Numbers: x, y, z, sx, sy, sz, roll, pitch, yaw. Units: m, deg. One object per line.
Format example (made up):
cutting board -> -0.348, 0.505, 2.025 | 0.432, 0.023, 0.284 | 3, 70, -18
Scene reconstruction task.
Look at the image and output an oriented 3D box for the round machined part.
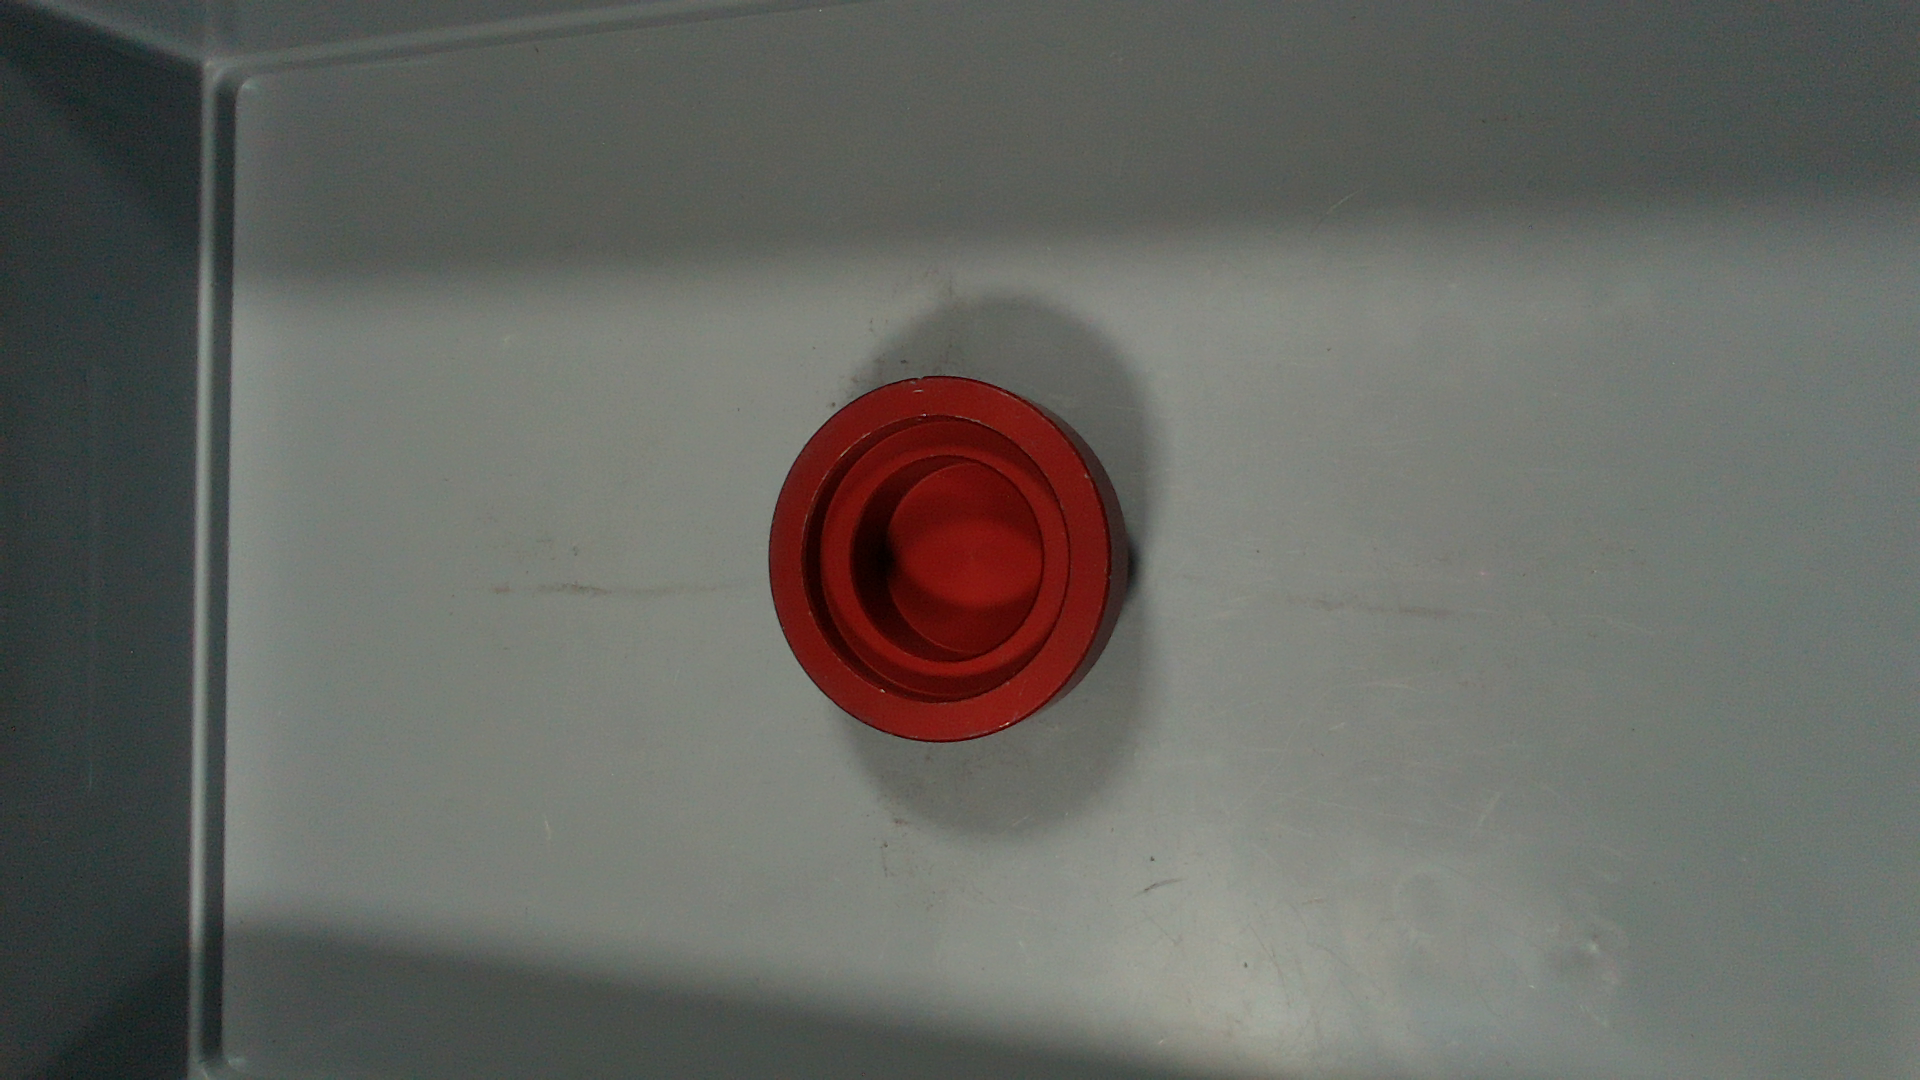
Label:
round machined part -> -0.001, 0.005, 0.384 | 0.098, 0.042, 0.098 | 0, 90, 20
